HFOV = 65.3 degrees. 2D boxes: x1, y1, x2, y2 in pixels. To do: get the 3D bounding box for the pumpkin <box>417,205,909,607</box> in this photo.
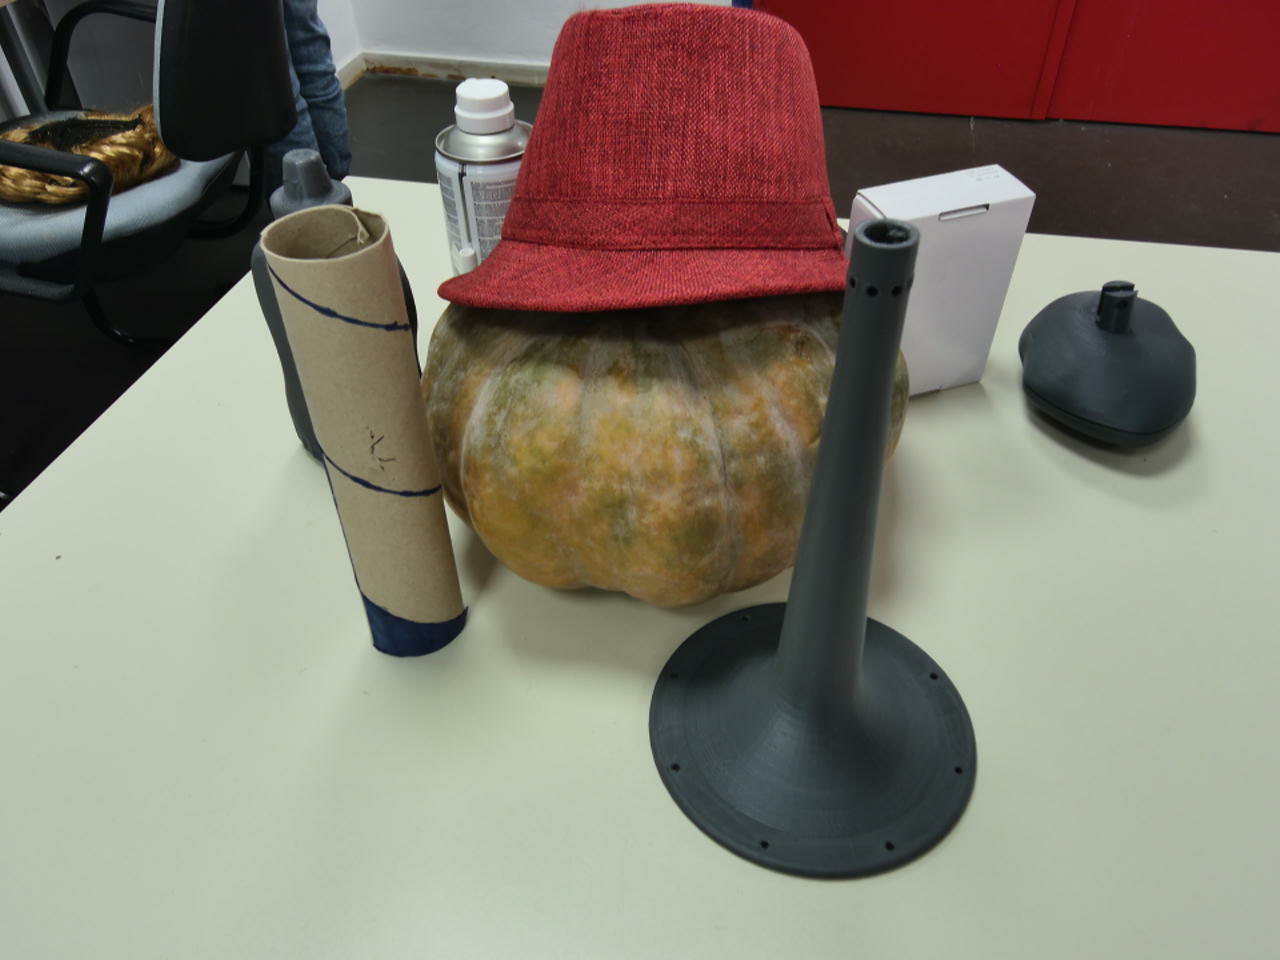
[{"bbox_3d":[0.005,-0.044,0.529,0.252,0.169,0.251,0,39,0],"label":"pumpkin"}]
